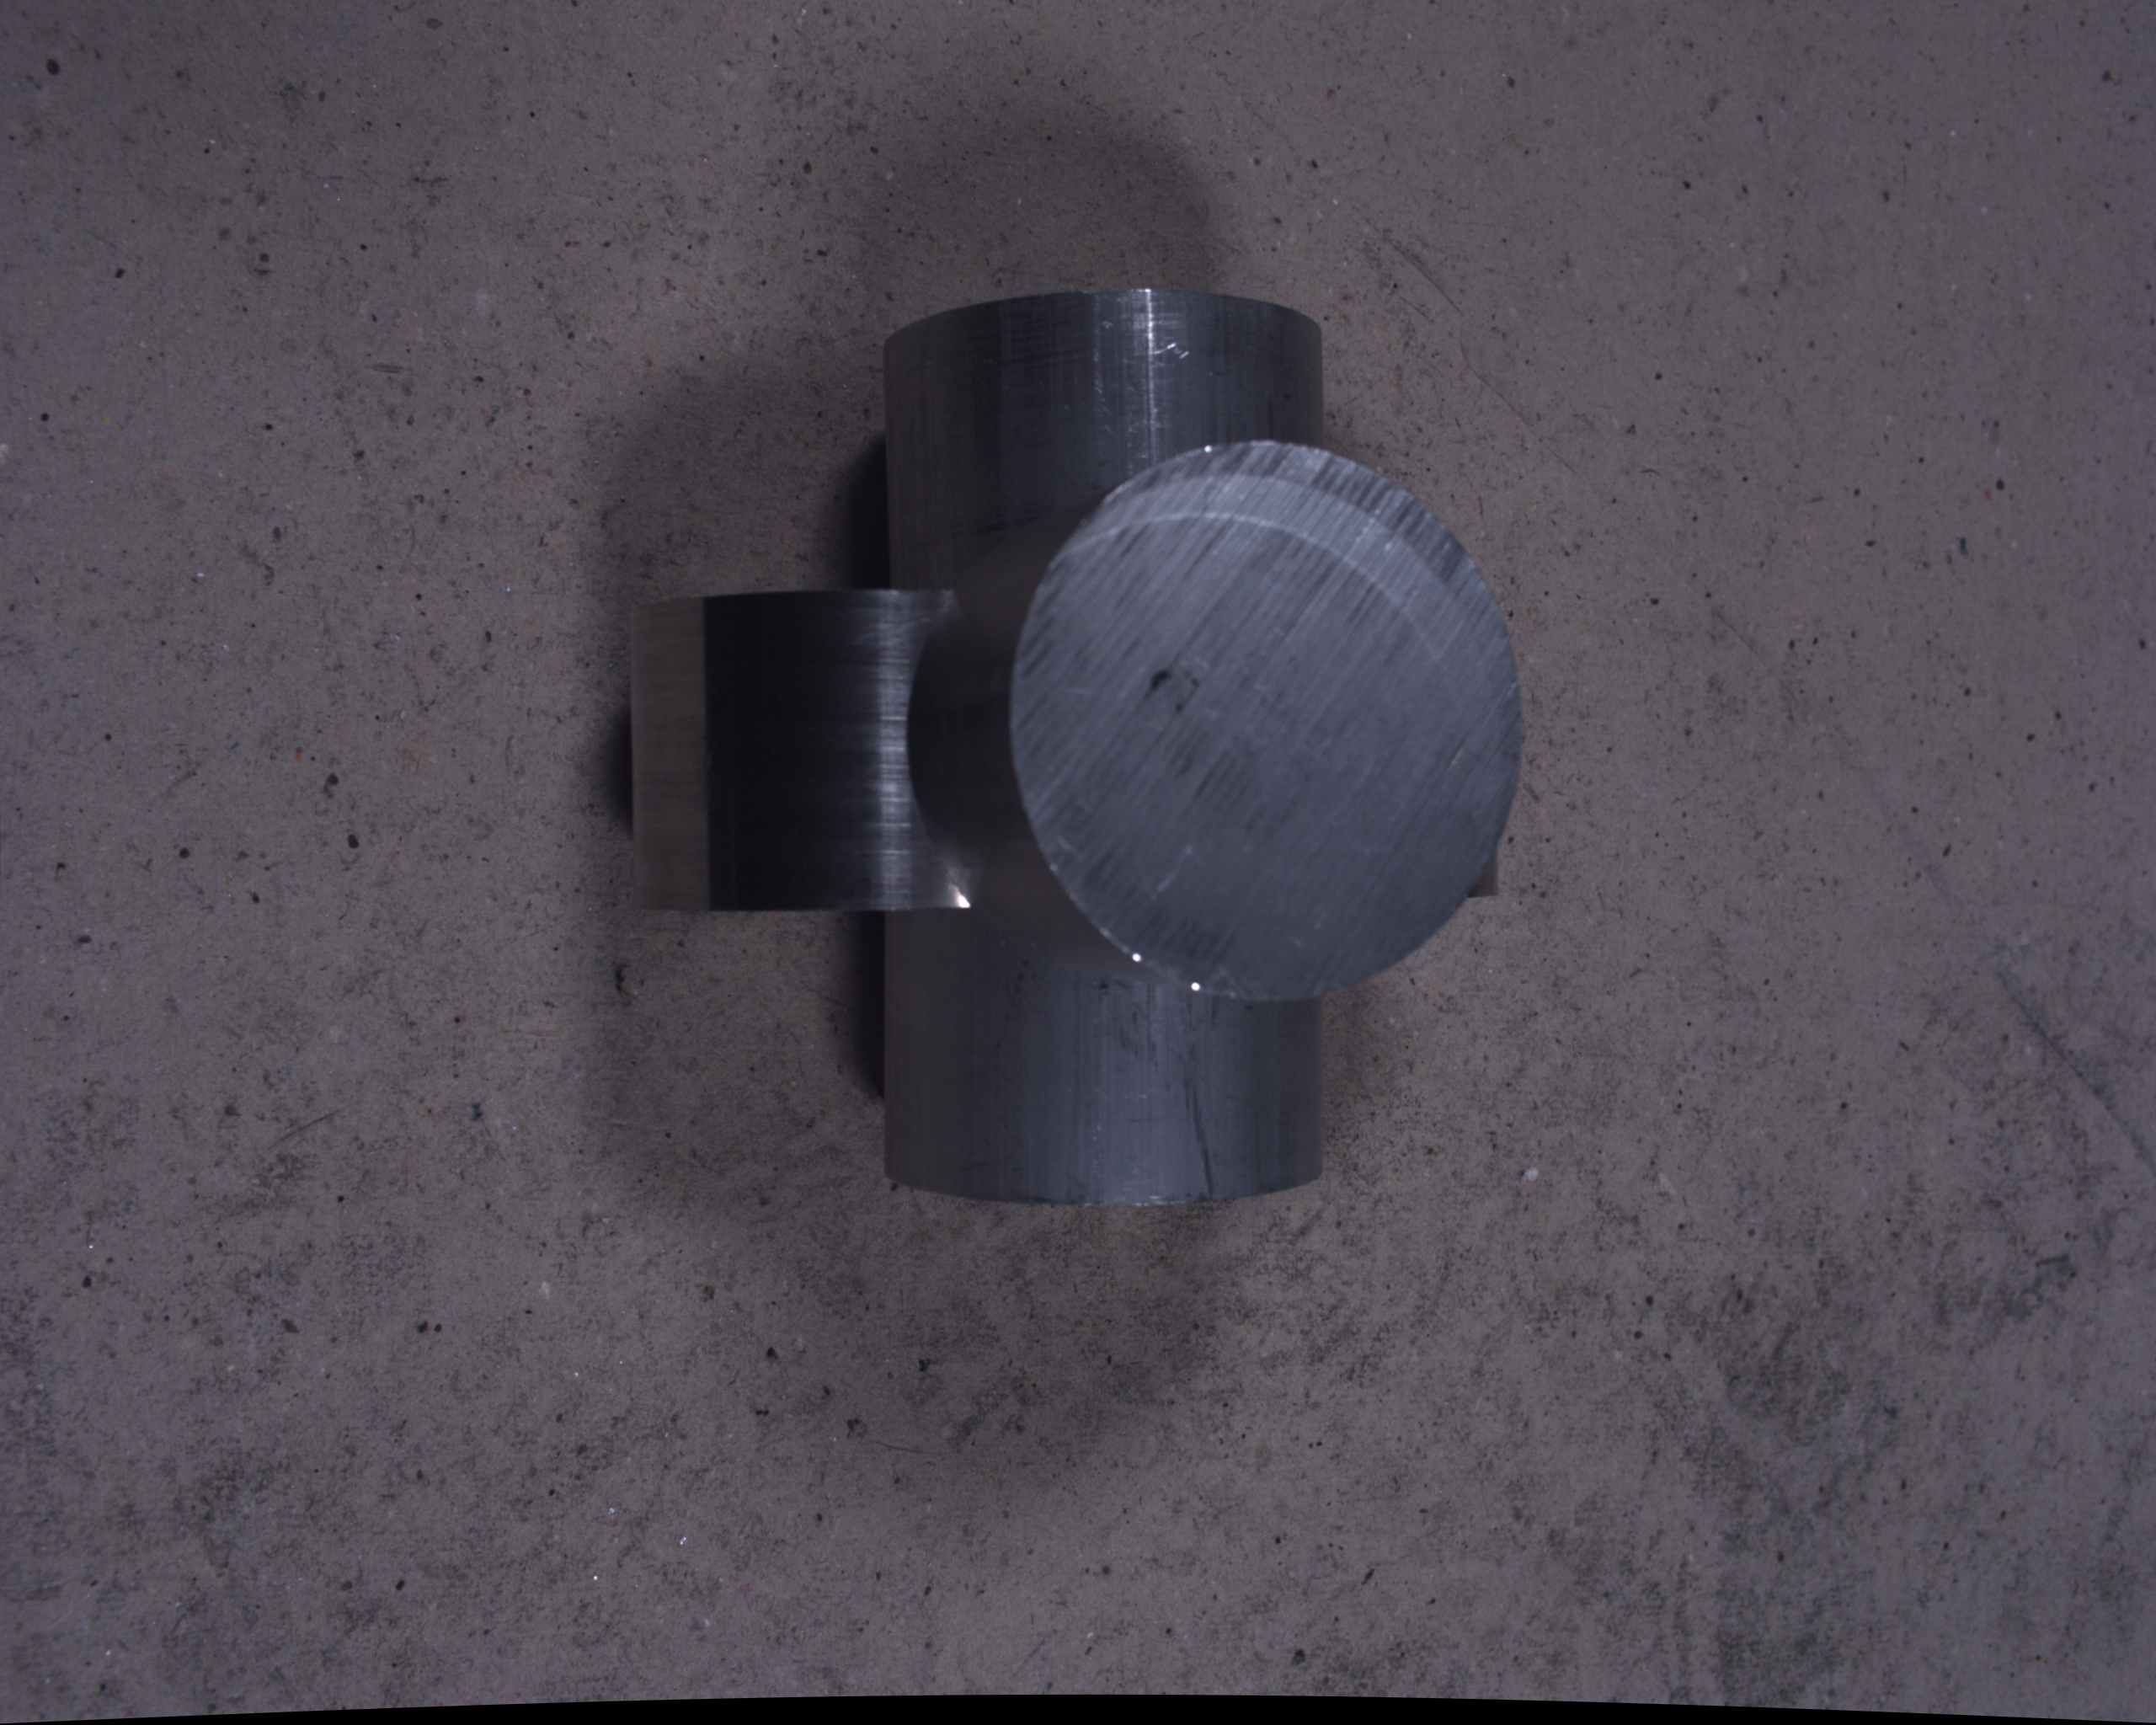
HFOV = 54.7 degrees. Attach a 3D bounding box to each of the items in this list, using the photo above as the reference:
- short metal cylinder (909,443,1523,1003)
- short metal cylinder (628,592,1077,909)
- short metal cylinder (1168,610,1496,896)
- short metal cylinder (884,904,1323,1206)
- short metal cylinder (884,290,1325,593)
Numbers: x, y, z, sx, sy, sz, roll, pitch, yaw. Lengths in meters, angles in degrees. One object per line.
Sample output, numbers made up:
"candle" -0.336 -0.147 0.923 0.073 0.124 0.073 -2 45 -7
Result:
"short metal cylinder" 0.020 -0.020 0.320 0.081 0.050 0.079 0 90 -21
"short metal cylinder" -0.038 -0.018 0.368 0.081 0.080 0.050 -1 91 -20
"short metal cylinder" 0.039 -0.019 0.396 0.081 0.080 0.050 0 91 -20
"short metal cylinder" 0.005 0.031 0.384 0.081 0.080 0.050 0 90 -20
"short metal cylinder" 0.005 -0.070 0.384 0.081 0.080 0.050 -2 91 -20
